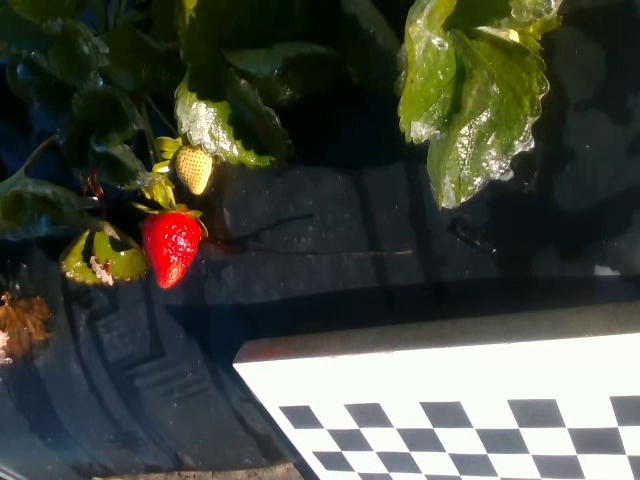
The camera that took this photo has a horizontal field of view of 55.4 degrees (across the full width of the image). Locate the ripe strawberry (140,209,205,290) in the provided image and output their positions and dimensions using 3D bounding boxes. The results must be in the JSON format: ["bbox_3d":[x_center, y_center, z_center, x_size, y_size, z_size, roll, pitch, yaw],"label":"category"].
[{"bbox_3d":[-0.071,0.008,0.289,0.039,0.039,0.040,-13,-30,44],"label":"ripe strawberry"}]
